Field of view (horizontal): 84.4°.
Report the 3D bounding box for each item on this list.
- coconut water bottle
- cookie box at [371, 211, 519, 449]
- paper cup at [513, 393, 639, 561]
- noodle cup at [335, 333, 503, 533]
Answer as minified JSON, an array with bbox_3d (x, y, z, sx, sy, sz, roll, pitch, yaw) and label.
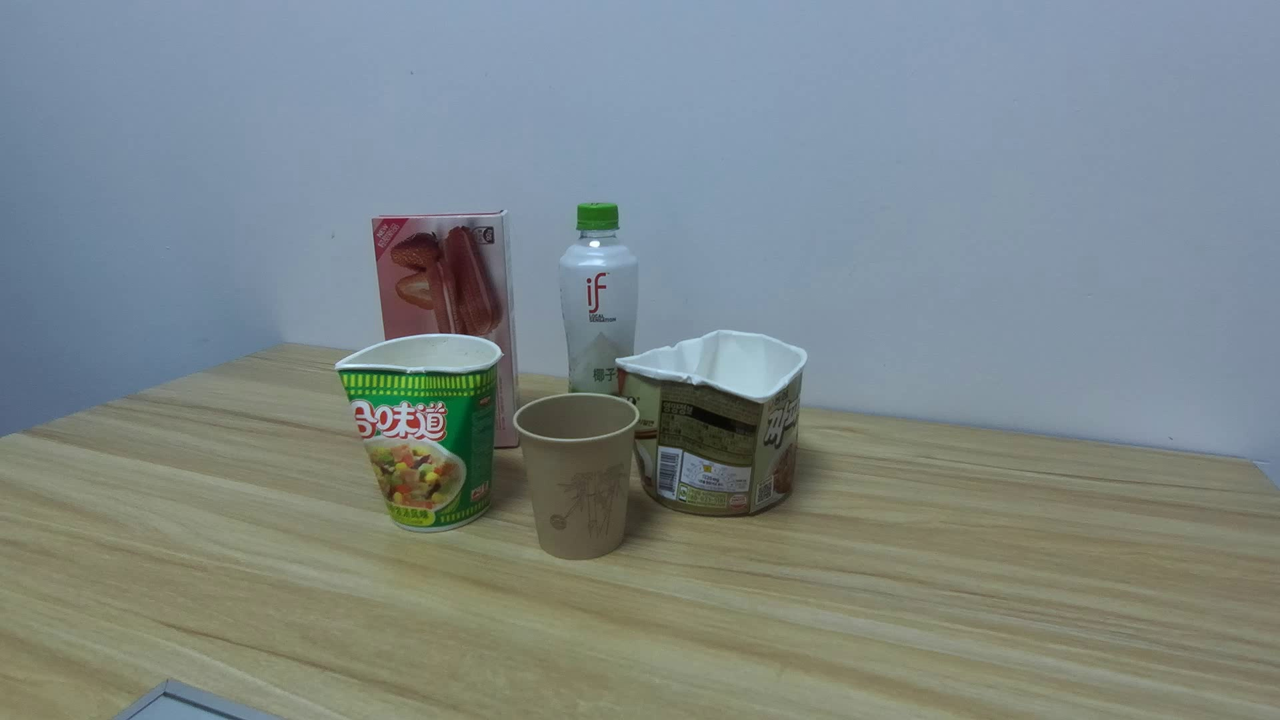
[{"bbox_3d":[-0.031,-0.024,0.551,0.063,0.188,0.063,0,16,0],"label":"coconut water bottle"},{"bbox_3d":[-0.148,-0.021,0.559,0.096,0.184,0.048,-3,13,-3],"label":"cookie box"},{"bbox_3d":[-0.037,0.072,0.432,0.075,0.082,0.075,0,19,0],"label":"paper cup"},{"bbox_3d":[-0.133,0.047,0.469,0.093,0.109,0.087,10,22,27],"label":"noodle cup"}]
